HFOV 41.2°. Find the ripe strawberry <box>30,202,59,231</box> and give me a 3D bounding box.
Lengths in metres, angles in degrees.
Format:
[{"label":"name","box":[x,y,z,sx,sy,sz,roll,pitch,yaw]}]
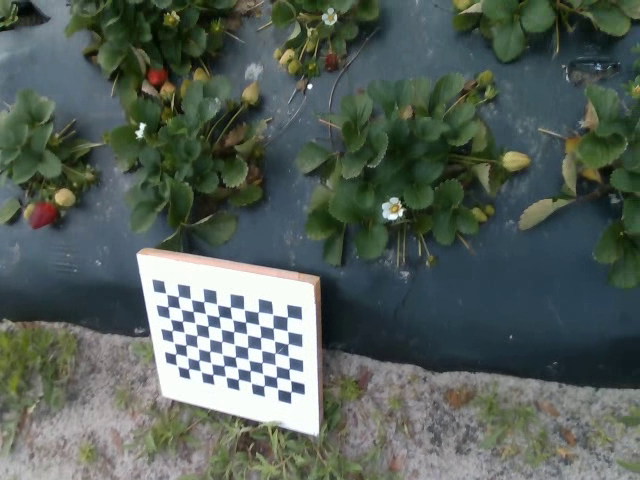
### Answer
[{"label":"ripe strawberry","box":[-0.482,-0.039,1.472,0.046,0.059,0.046,4,-42,28]}]
